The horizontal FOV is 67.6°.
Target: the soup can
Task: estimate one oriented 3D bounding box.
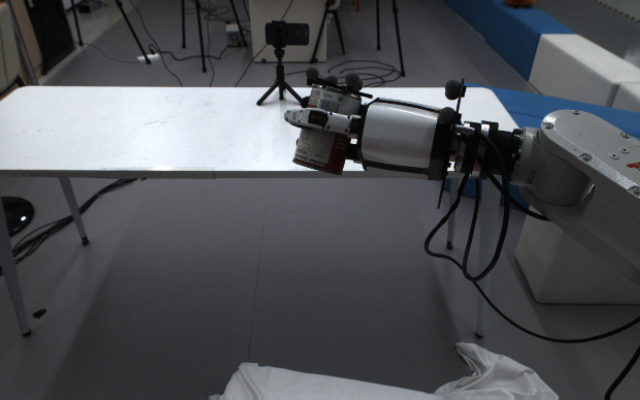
[{"bbox_3d":[0.010,-0.089,0.626,0.067,0.101,0.067,15,7,-2],"label":"soup can"}]
